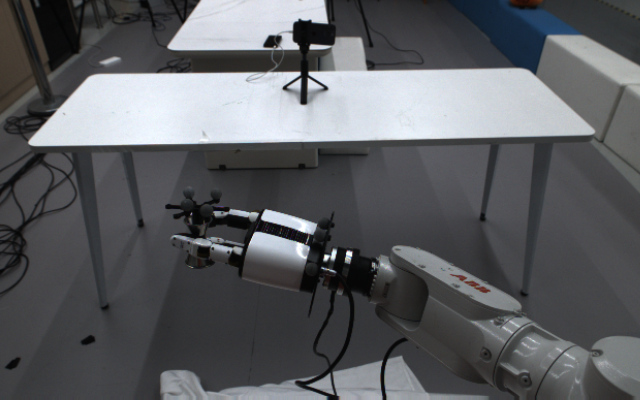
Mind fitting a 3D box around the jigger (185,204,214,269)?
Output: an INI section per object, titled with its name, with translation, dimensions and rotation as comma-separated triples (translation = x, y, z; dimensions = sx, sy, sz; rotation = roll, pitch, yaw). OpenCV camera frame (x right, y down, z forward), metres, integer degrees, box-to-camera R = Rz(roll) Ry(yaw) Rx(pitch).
[jigger]
translation = -0.174, 0.058, 0.701
dimensions = 0.043, 0.071, 0.043
rotation = 2, 21, -1
